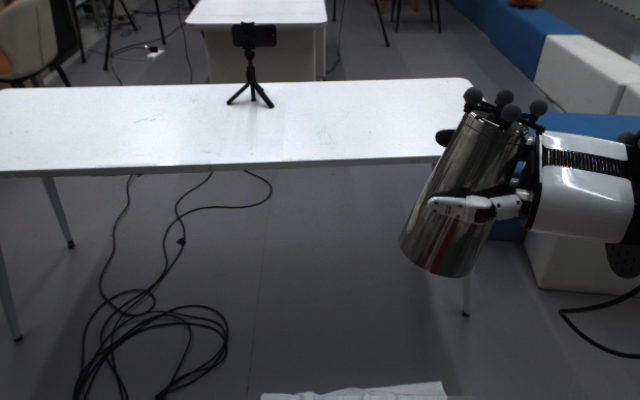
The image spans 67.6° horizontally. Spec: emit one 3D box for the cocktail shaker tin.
[{"bbox_3d":[0.161,-0.012,0.529,0.093,0.170,0.093,12,29,-7],"label":"cocktail shaker tin"}]
